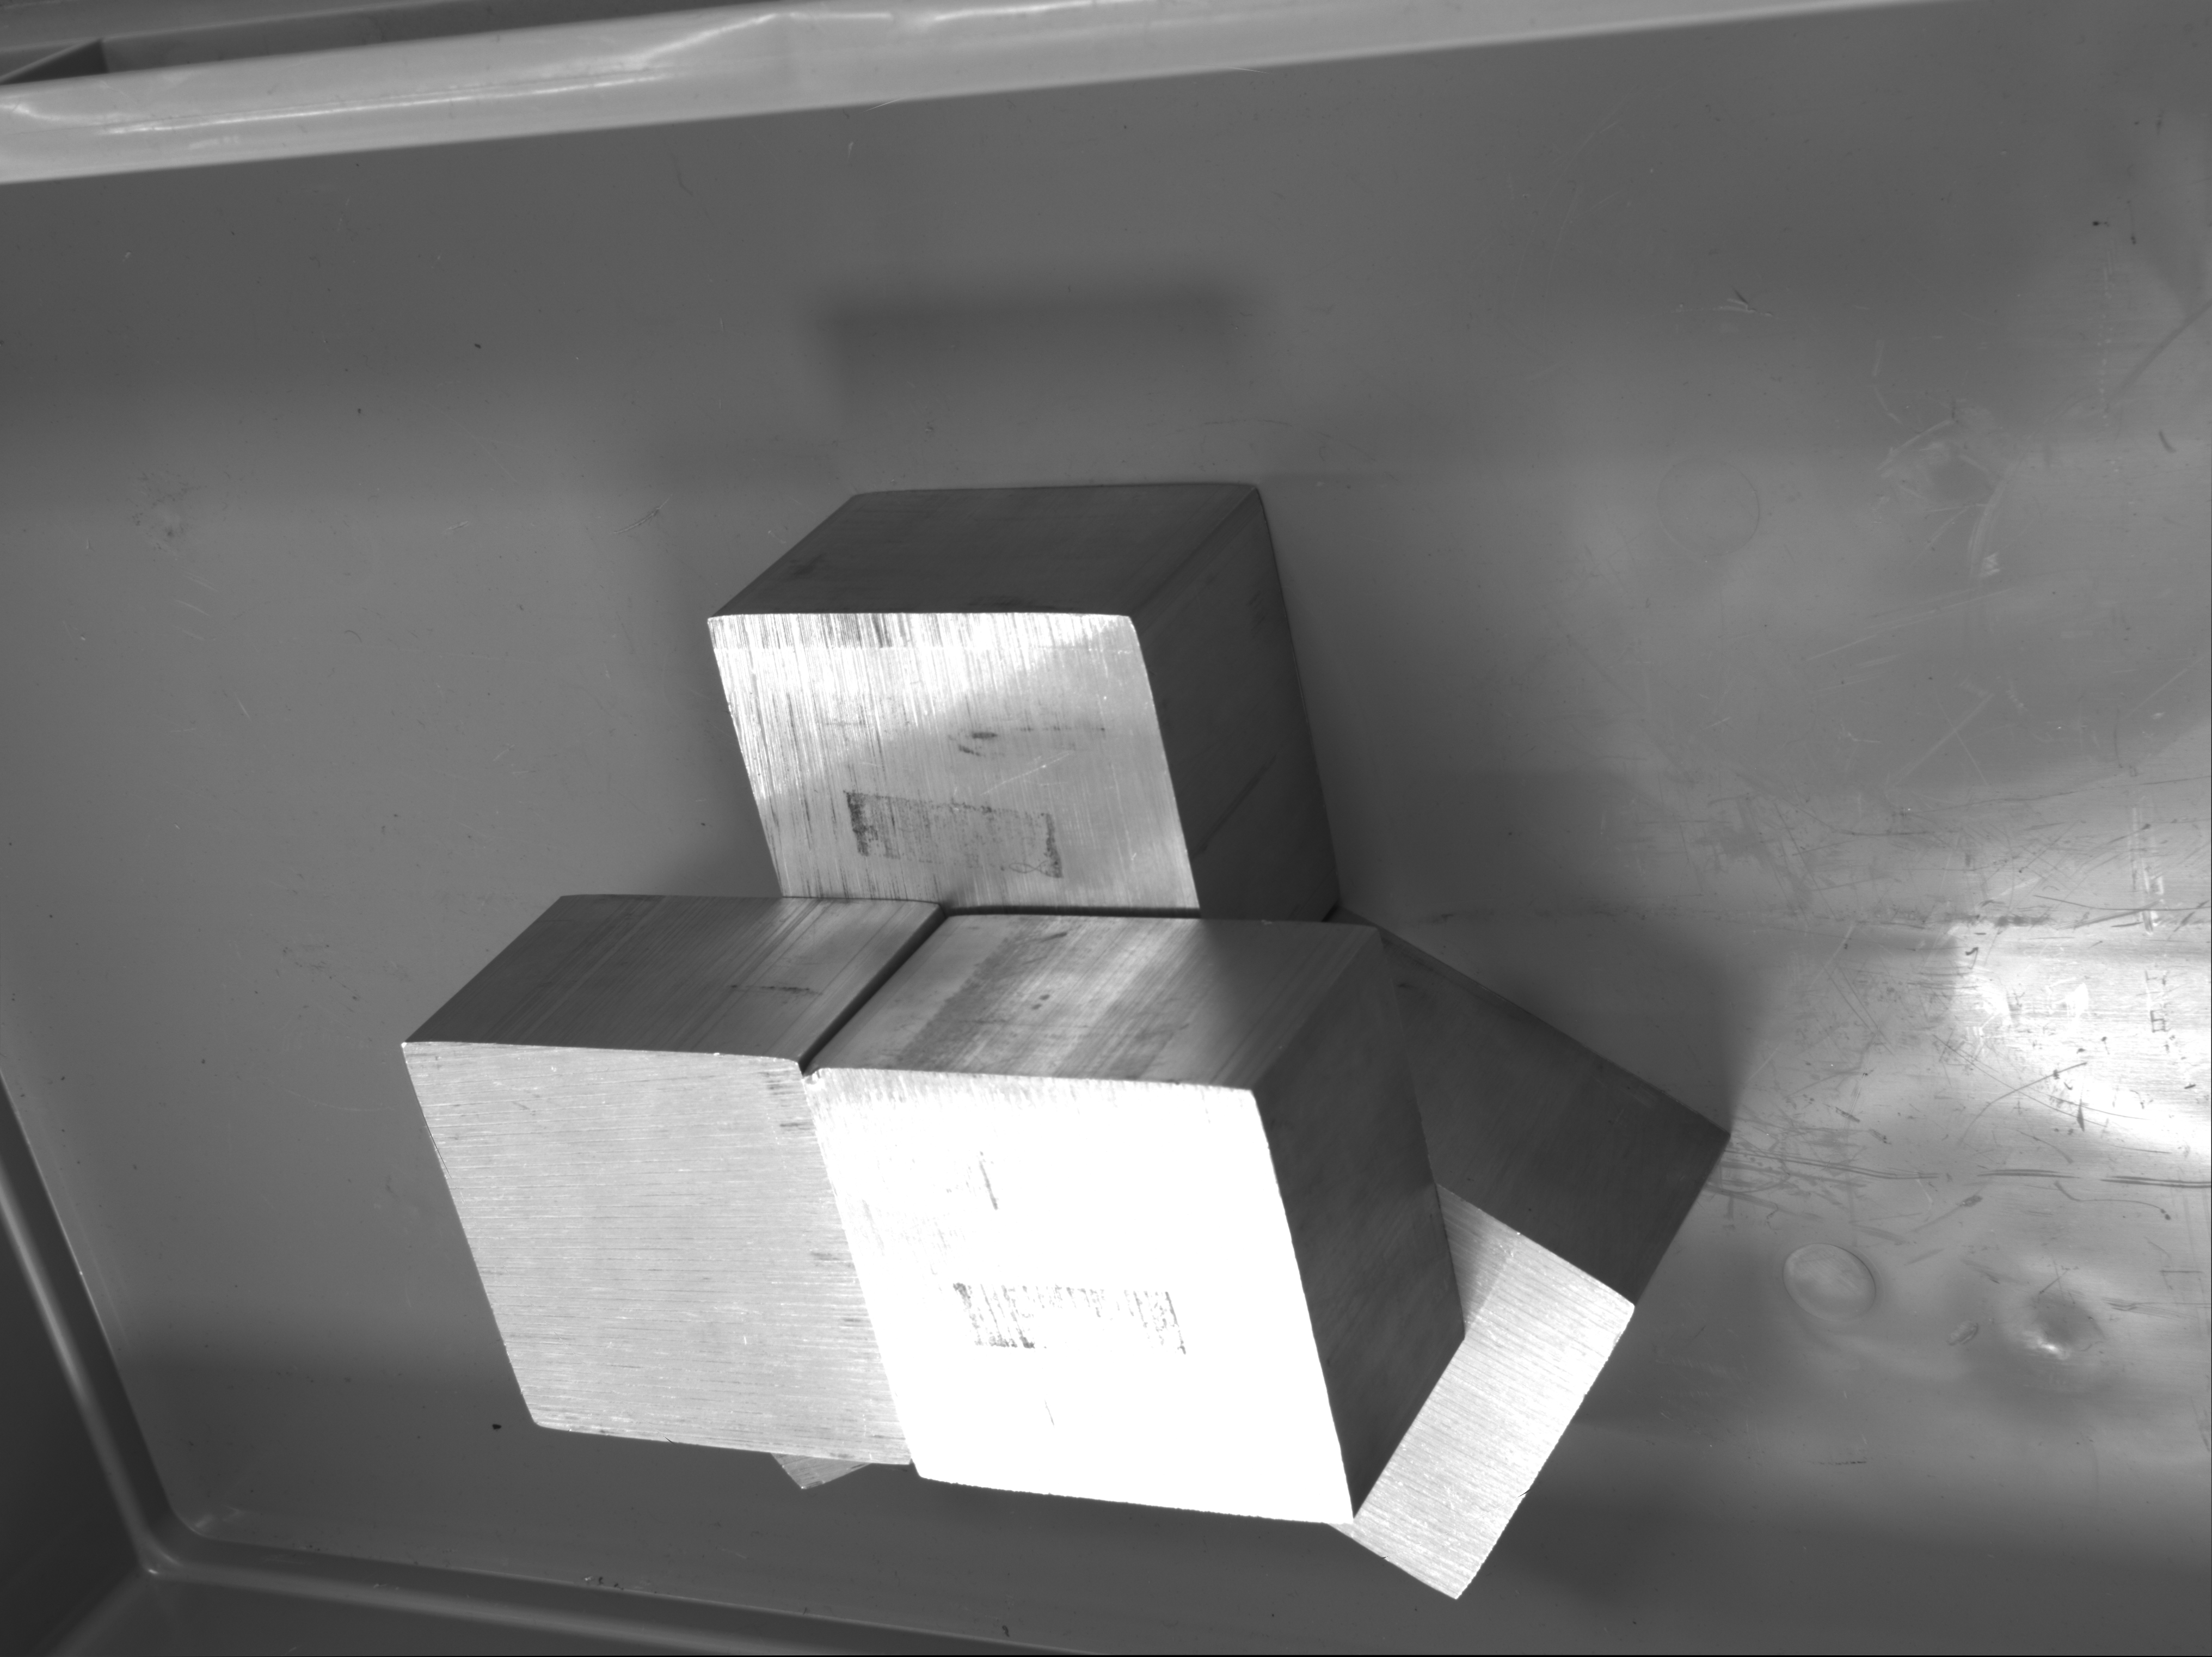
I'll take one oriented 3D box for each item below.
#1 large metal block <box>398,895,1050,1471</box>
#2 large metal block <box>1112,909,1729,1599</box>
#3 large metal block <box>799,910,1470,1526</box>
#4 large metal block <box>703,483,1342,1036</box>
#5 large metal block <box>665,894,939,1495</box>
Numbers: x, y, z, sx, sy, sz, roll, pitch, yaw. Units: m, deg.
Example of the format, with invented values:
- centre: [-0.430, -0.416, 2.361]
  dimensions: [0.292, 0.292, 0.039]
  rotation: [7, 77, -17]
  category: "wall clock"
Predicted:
- centre: [-0.064, 0.059, 0.631]
  dimensions: [0.080, 0.050, 0.080]
  rotation: [1, 119, 28]
  category: "large metal block"
- centre: [0.050, 0.074, 0.642]
  dimensions: [0.080, 0.050, 0.080]
  rotation: [30, 128, 10]
  category: "large metal block"
- centre: [0.006, 0.061, 0.592]
  dimensions: [0.080, 0.050, 0.080]
  rotation: [1, 119, 28]
  category: "large metal block"
- centre: [-0.013, -0.011, 0.625]
  dimensions: [0.080, 0.050, 0.080]
  rotation: [1, 119, 28]
  category: "large metal block"
- centre: [-0.044, 0.068, 0.690]
  dimensions: [0.080, 0.050, 0.080]
  rotation: [-29, 102, 38]
  category: "large metal block"
